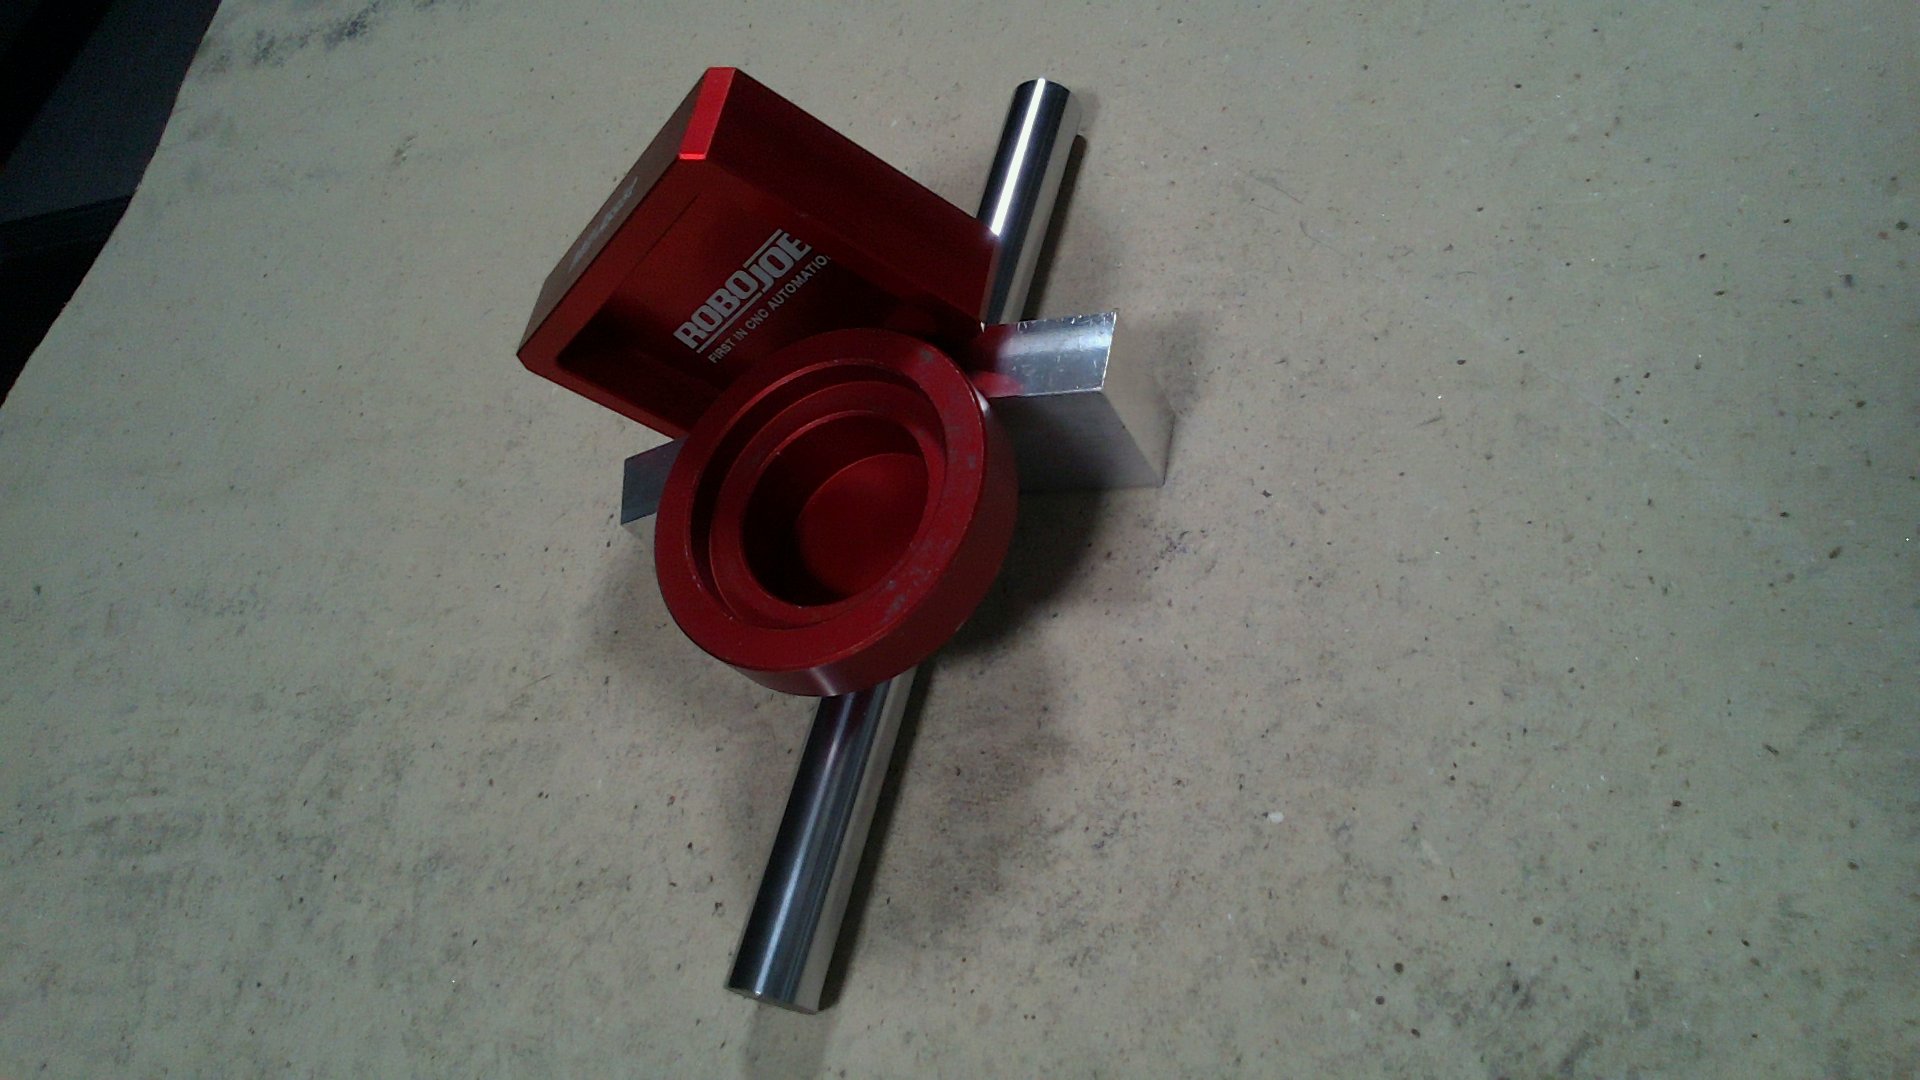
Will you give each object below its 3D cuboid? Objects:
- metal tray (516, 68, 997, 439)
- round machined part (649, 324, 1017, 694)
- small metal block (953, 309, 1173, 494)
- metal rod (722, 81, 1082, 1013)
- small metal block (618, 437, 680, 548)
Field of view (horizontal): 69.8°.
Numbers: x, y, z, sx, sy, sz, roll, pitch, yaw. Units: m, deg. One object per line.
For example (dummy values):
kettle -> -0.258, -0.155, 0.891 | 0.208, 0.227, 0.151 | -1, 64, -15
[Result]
metal tray -> -0.062, -0.068, 0.398 | 0.129, 0.090, 0.030 | -27, 43, 50
round machined part -> -0.030, -0.005, 0.366 | 0.098, 0.042, 0.098 | -11, 60, 21
small metal block -> 0.027, -0.037, 0.386 | 0.050, 0.050, 0.025 | -2, 61, 28
metal rod -> -0.010, -0.015, 0.409 | 0.025, 0.025, 0.300 | 2, 63, 30
small metal block -> -0.068, -0.010, 0.421 | 0.050, 0.050, 0.025 | -18, 54, 18
